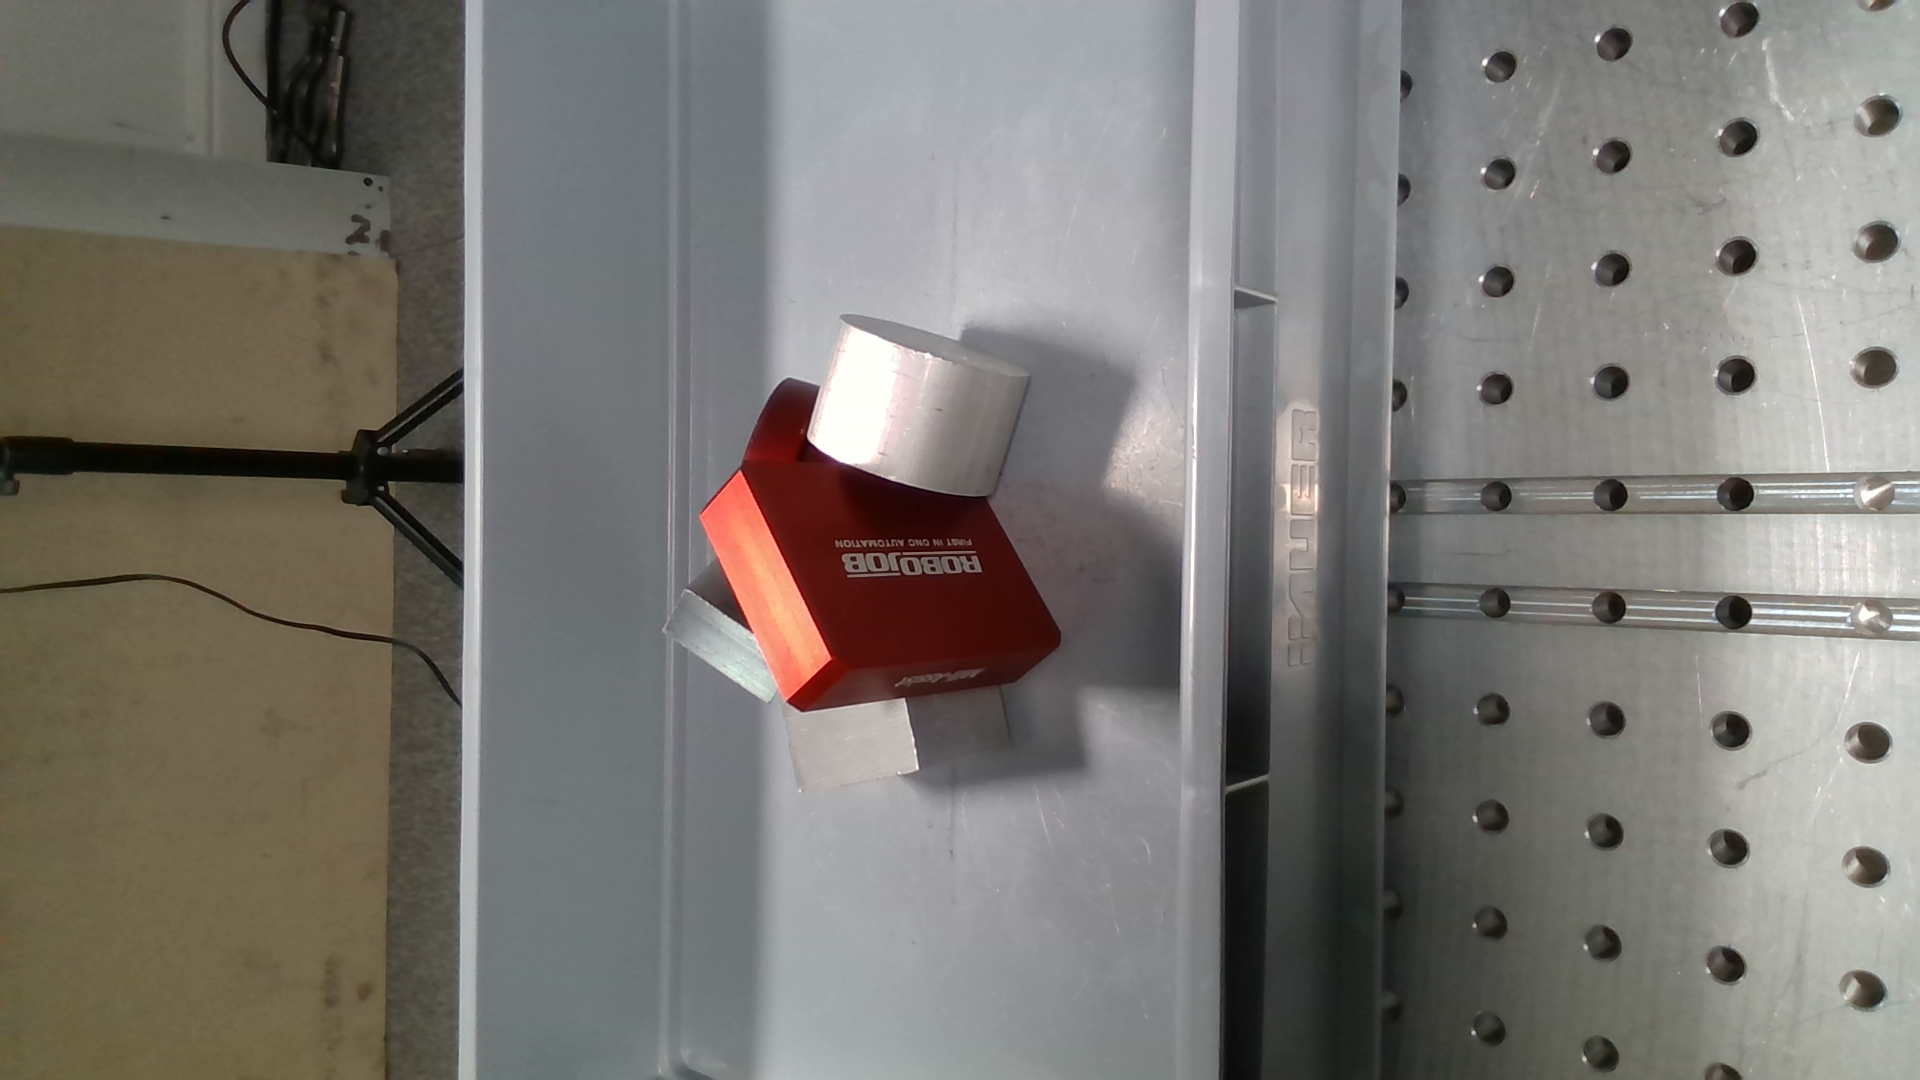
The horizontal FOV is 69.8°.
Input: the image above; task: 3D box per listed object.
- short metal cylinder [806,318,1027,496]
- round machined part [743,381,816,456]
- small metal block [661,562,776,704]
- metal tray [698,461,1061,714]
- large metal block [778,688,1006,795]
[{"bbox_3d":[-0.018,-0.056,0.559,0.080,0.080,0.050,28,108,37],"label":"short metal cylinder"},{"bbox_3d":[-0.068,-0.019,0.603,0.042,0.098,0.098,16,103,3],"label":"round machined part"},{"bbox_3d":[-0.081,0.029,0.543,0.050,0.050,0.025,34,123,0],"label":"small metal block"},{"bbox_3d":[-0.028,0.015,0.535,0.030,0.130,0.090,-43,64,33],"label":"metal tray"},{"bbox_3d":[-0.034,0.060,0.584,0.080,0.050,0.080,-20,78,43],"label":"large metal block"}]
